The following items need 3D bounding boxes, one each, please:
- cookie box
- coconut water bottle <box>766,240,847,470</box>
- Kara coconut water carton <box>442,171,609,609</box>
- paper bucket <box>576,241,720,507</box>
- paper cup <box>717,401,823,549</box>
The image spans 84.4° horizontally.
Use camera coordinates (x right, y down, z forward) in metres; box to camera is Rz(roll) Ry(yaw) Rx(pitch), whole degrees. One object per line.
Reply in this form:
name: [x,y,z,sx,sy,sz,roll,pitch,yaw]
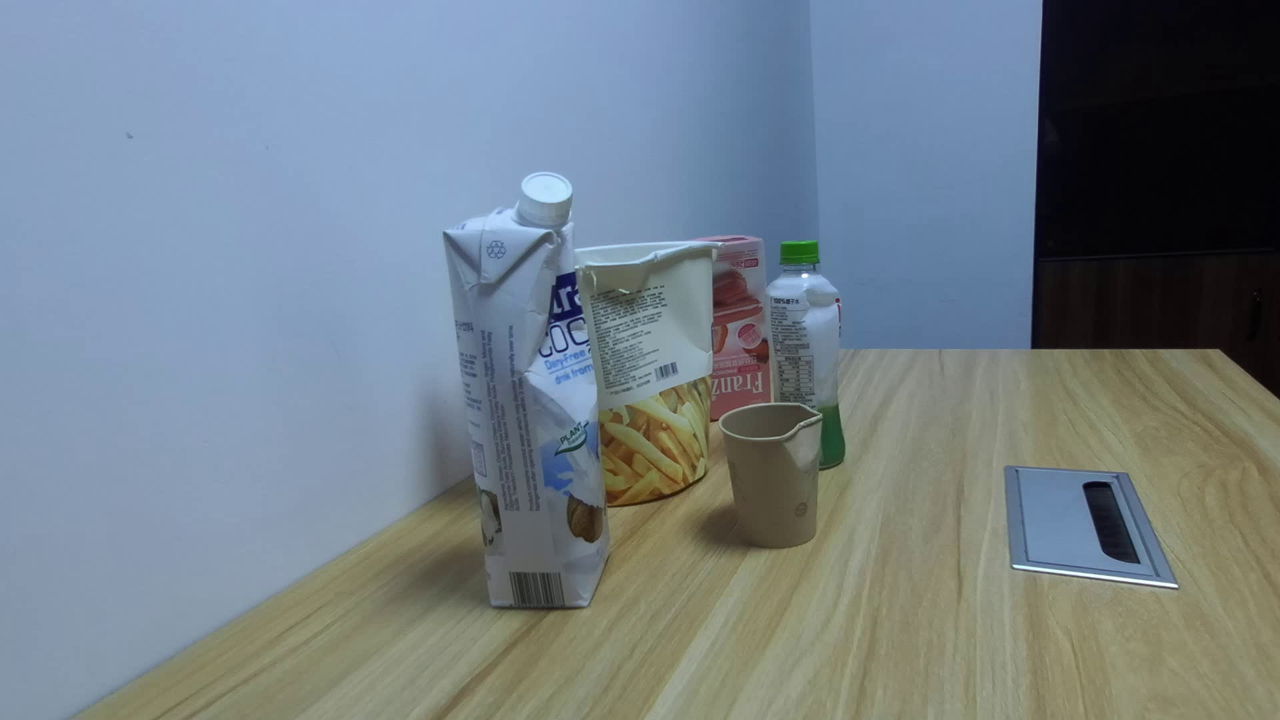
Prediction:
cookie box: [0.077,-0.031,0.739,0.105,0.187,0.048,-10,14,-17]
coconut water bottle: [0.140,-0.005,0.595,0.069,0.186,0.069,-3,11,1]
Kara coconut water carton: [-0.066,0.021,0.430,0.078,0.255,0.083,2,15,22]
paper bucket: [-0.024,0.006,0.605,0.145,0.197,0.203,2,15,37]
paper cup: [0.090,0.079,0.483,0.069,0.081,0.073,-9,13,-10]
